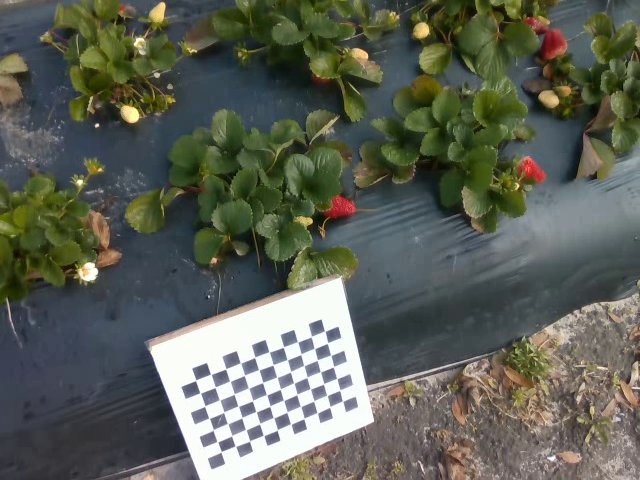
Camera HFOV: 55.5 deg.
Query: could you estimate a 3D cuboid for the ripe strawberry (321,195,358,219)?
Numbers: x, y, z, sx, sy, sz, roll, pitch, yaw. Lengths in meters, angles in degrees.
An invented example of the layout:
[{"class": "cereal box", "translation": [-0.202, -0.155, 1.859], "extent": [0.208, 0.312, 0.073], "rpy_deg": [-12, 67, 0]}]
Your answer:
[{"class": "ripe strawberry", "translation": [0.029, -0.048, 0.879], "extent": [0.064, 0.051, 0.043], "rpy_deg": [13, 12, -21]}]
